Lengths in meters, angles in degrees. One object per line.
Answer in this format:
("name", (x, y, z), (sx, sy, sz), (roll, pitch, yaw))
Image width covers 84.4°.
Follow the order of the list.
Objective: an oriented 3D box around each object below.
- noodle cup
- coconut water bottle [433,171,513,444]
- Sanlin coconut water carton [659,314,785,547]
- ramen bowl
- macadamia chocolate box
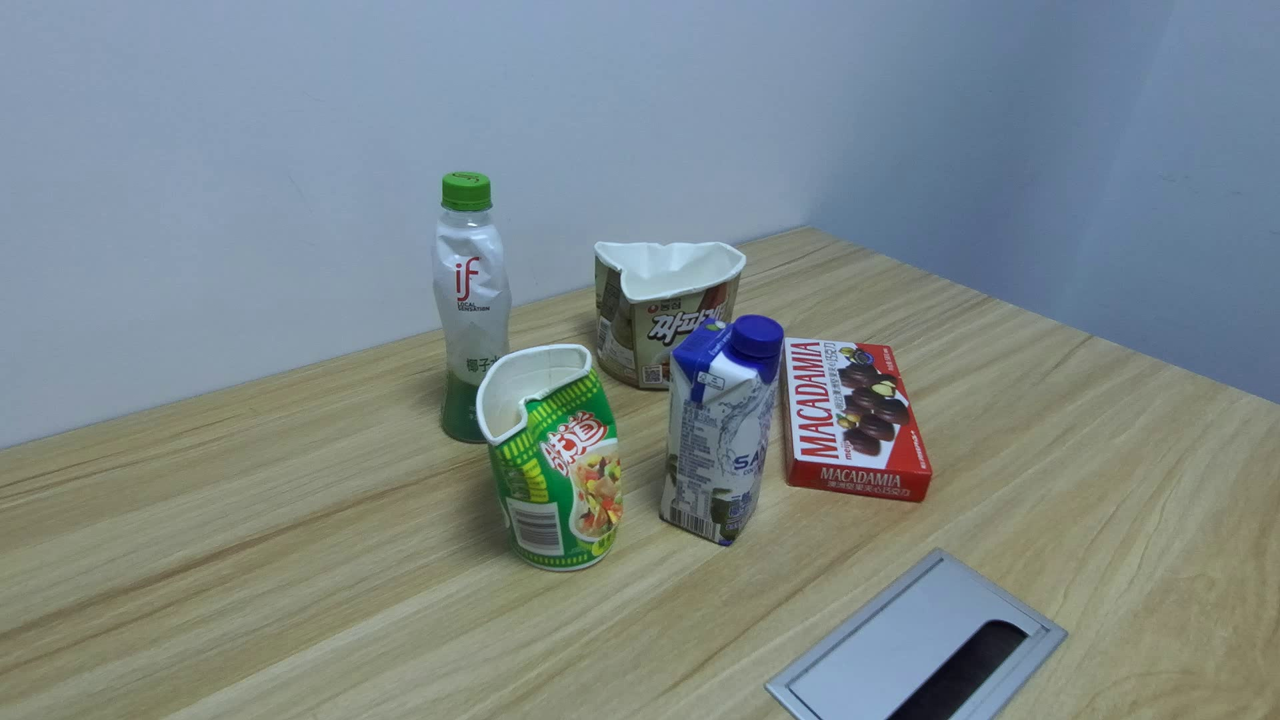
("noodle cup", (-0.048, 0.059, 0.418), (0.083, 0.122, 0.075), (-25, 32, -22))
("coconut water bottle", (-0.115, -0.034, 0.495), (0.067, 0.187, 0.067), (2, 27, -1))
("Sanlin coconut water carton", (0.049, 0.039, 0.428), (0.060, 0.144, 0.061), (17, 34, 25))
("ramen bowl", (0.030, -0.045, 0.610), (0.134, 0.097, 0.113), (-11, 34, -22))
("macadamia chocolate box", (0.161, 0.039, 0.554), (0.095, 0.027, 0.178), (6, 31, 7))
